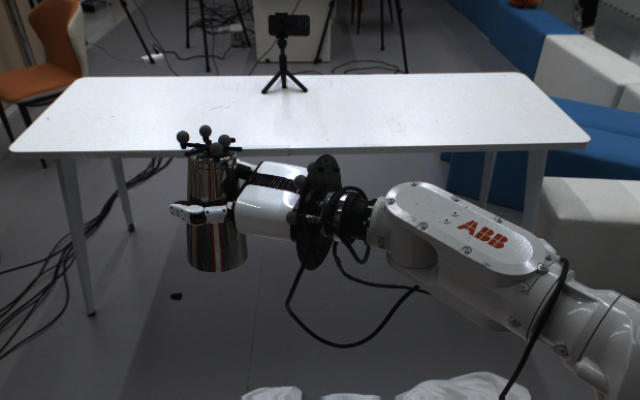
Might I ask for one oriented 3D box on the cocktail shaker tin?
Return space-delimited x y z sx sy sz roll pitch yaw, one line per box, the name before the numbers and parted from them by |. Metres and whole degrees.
cocktail shaker tin | -0.155 0.009 0.711 0.093 0.170 0.093 2 26 -1
